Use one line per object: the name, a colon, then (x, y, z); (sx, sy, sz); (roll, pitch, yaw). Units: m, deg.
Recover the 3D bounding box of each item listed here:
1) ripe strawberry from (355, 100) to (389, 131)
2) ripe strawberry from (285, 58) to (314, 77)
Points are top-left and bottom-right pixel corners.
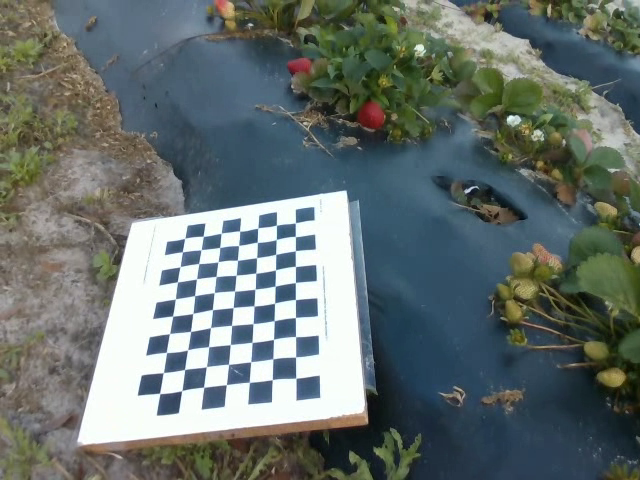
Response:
ripe strawberry: (0.078, -0.196, 0.967); (0.043, 0.046, 0.046); (-6, 16, 3)
ripe strawberry: (-0.035, -0.283, 1.046); (0.050, 0.042, 0.043); (2, 41, -25)
